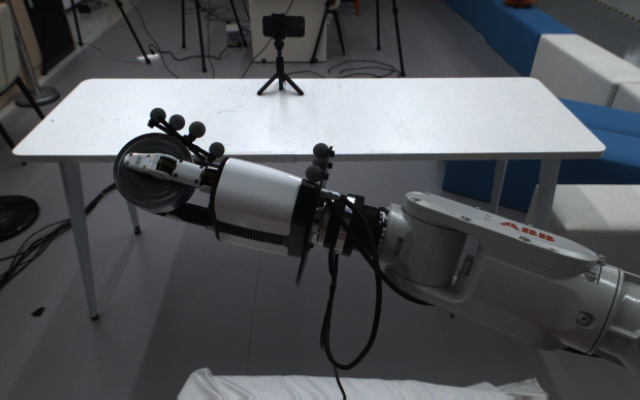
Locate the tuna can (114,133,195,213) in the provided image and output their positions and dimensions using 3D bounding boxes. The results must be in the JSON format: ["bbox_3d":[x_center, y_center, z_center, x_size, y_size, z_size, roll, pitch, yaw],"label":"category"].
[{"bbox_3d":[-0.181,-0.028,0.542,0.085,0.034,0.085,1,75,-4],"label":"tuna can"}]
